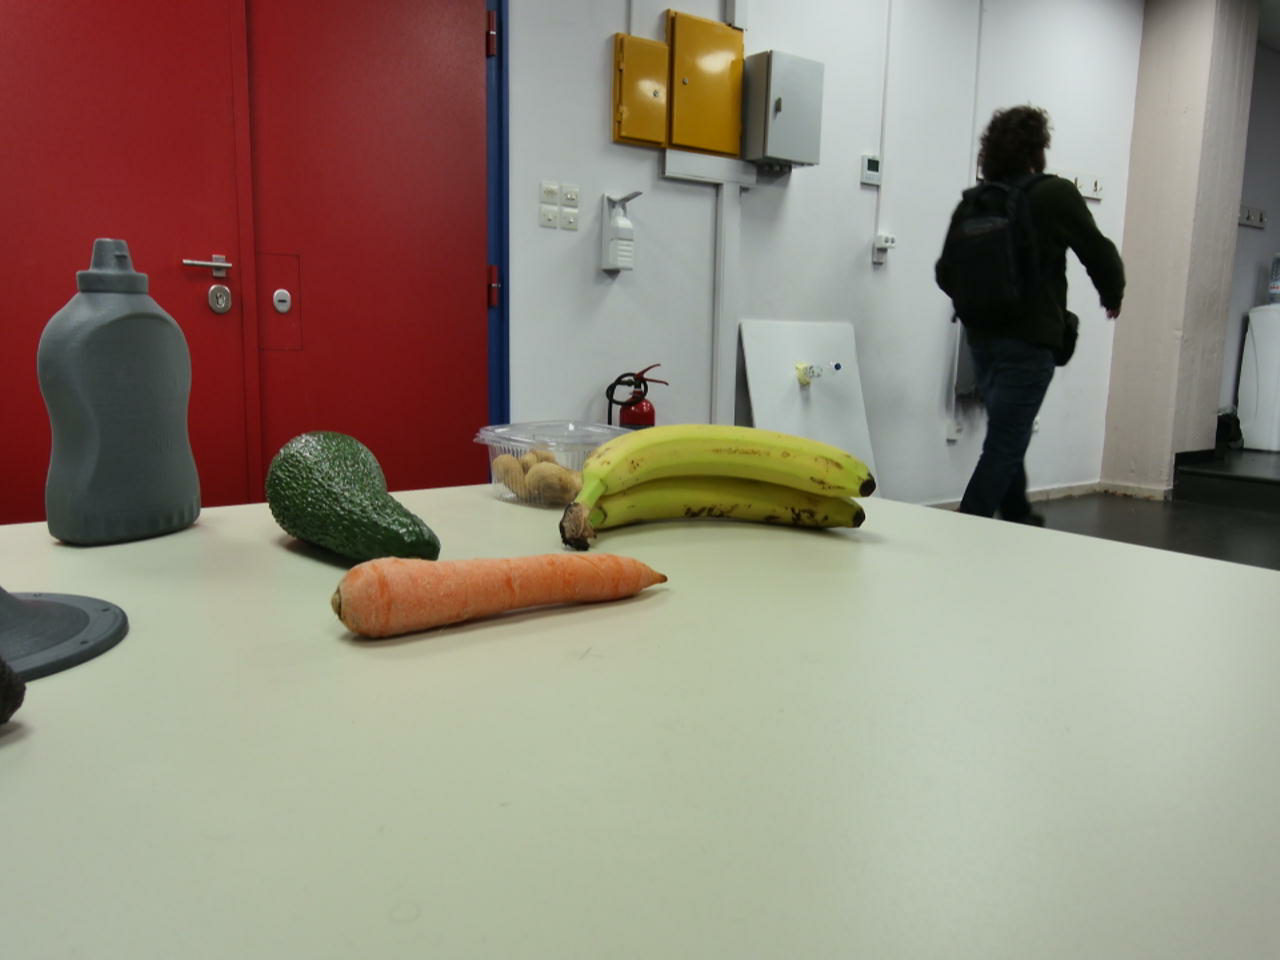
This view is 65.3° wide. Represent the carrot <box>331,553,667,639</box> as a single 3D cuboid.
[{"bbox_3d":[-0.066,0.053,0.534,0.196,0.041,0.039,-6,9,-36],"label":"carrot"}]
